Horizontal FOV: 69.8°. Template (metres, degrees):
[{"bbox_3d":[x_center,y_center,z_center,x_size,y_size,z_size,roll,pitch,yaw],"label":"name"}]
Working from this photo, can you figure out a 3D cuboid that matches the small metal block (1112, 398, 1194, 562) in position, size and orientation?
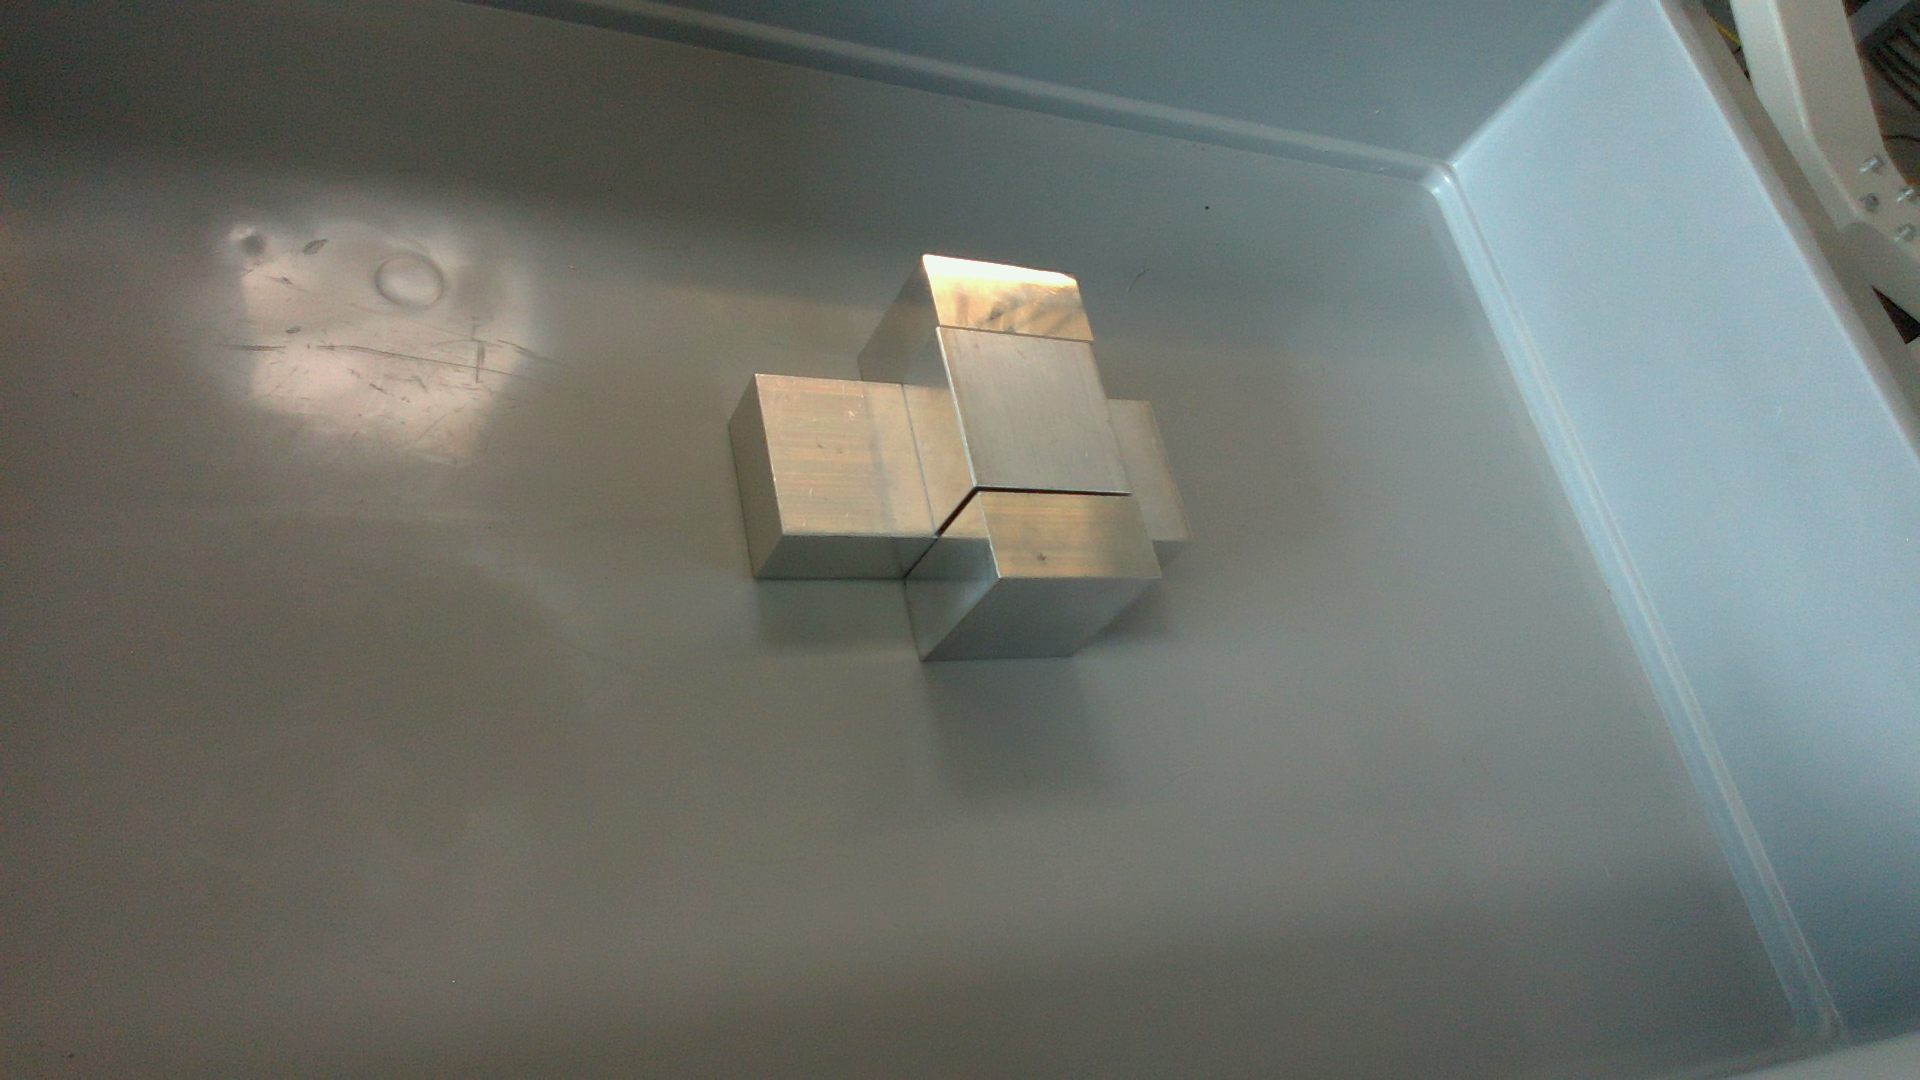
[{"bbox_3d":[0.037,-0.016,0.418,0.050,0.025,0.050,1,61,-28],"label":"small metal block"}]

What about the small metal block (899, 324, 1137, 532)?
[{"bbox_3d":[0.015,-0.030,0.381,0.050,0.025,0.050,1,61,-28],"label":"small metal block"}]

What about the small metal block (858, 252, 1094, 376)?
[{"bbox_3d":[0.003,-0.057,0.408,0.050,0.050,0.025,1,61,-28],"label":"small metal block"}]

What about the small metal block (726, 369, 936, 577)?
[{"bbox_3d":[-0.034,-0.018,0.380,0.050,0.025,0.050,1,61,-28],"label":"small metal block"}]

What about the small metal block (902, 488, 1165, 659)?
[{"bbox_3d":[0.019,0.010,0.374,0.050,0.050,0.025,1,61,-28],"label":"small metal block"}]
